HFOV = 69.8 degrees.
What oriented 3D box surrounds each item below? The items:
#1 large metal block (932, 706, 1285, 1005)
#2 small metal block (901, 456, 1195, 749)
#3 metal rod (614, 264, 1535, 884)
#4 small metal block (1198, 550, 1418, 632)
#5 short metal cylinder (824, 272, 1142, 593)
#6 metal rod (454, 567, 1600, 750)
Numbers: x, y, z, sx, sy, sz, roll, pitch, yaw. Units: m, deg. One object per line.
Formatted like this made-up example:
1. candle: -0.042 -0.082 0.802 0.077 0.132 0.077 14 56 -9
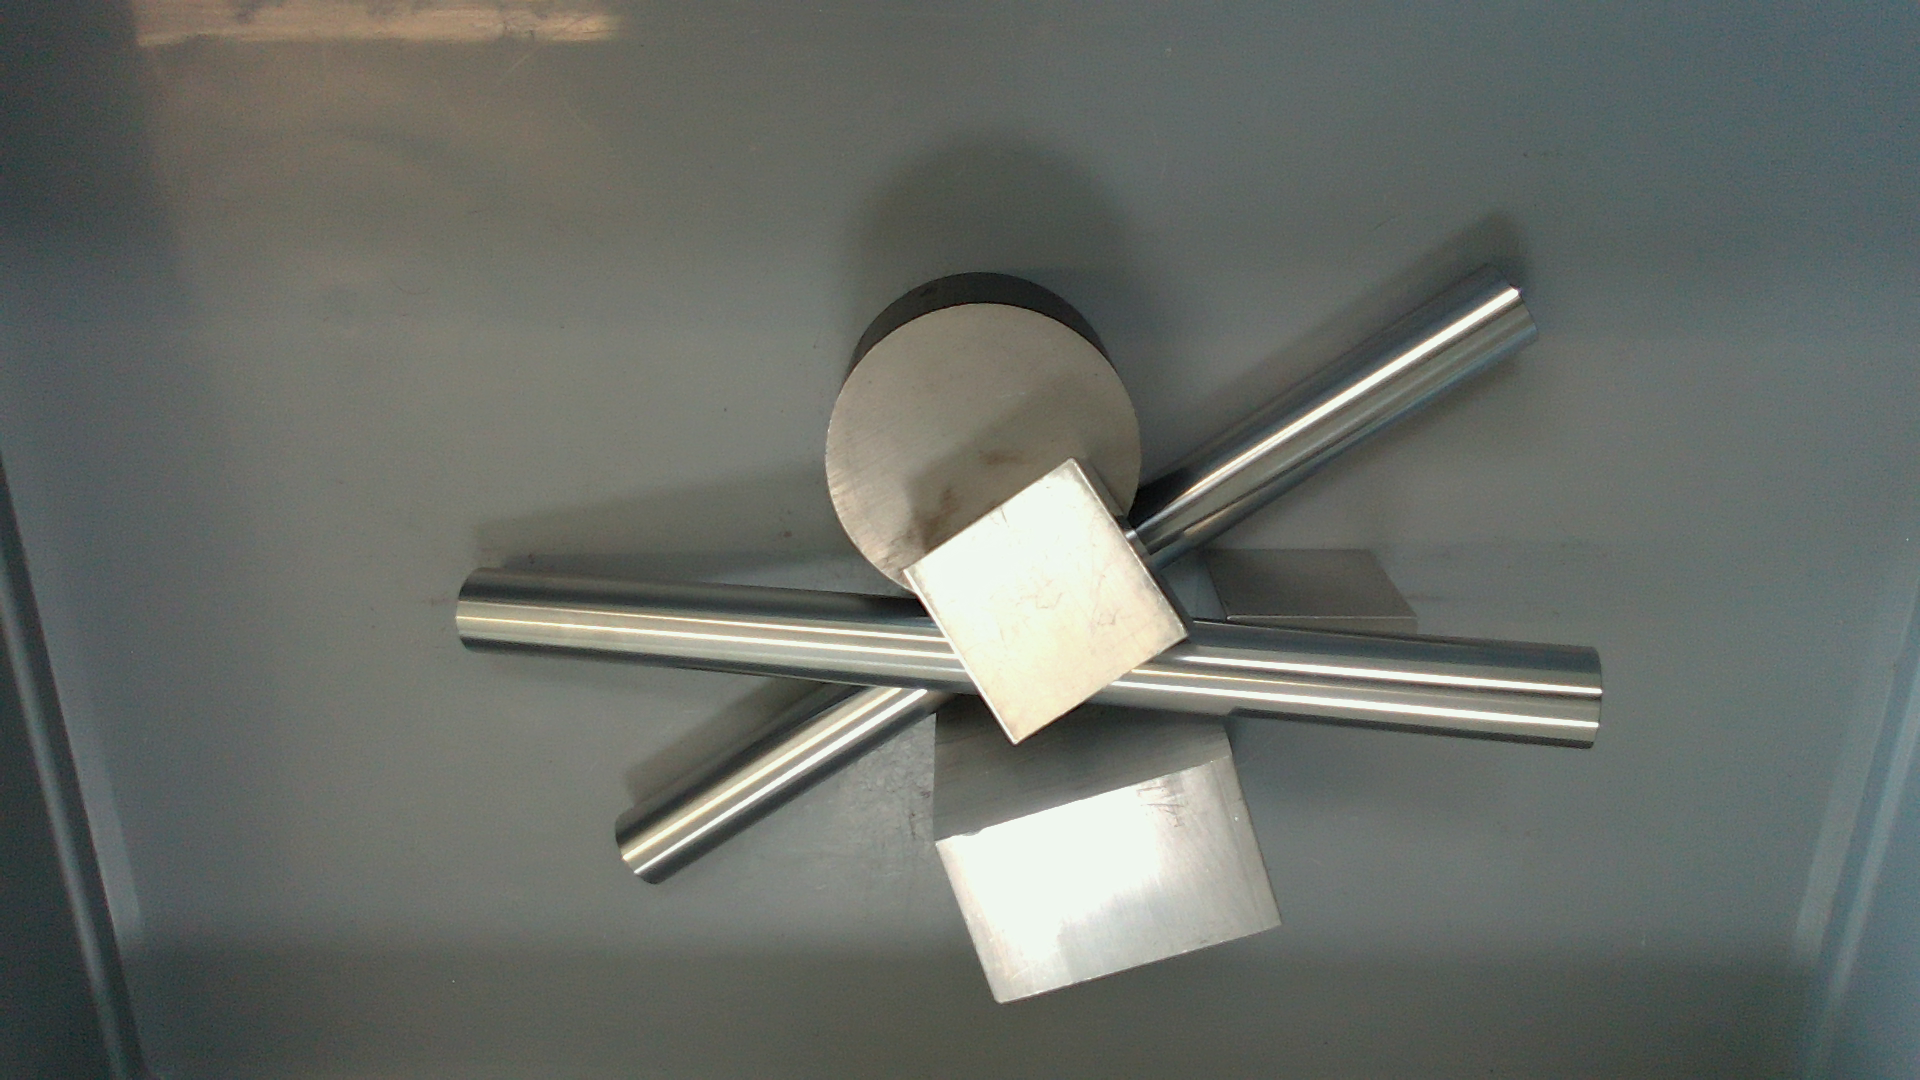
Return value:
1. large metal block: 0.039 0.076 0.391 0.080 0.080 0.050 -17 109 6
2. small metal block: 0.022 0.015 0.336 0.050 0.025 0.050 -34 84 12
3. metal rod: 0.024 0.016 0.400 0.300 0.025 0.025 -33 107 11
4. small metal block: 0.096 0.023 0.389 0.050 0.050 0.025 0 110 1
5. short metal cylinder: 0.006 -0.028 0.369 0.080 0.050 0.080 0 109 0
6. metal rod: 0.006 0.029 0.366 0.299 0.025 0.025 4 111 13
